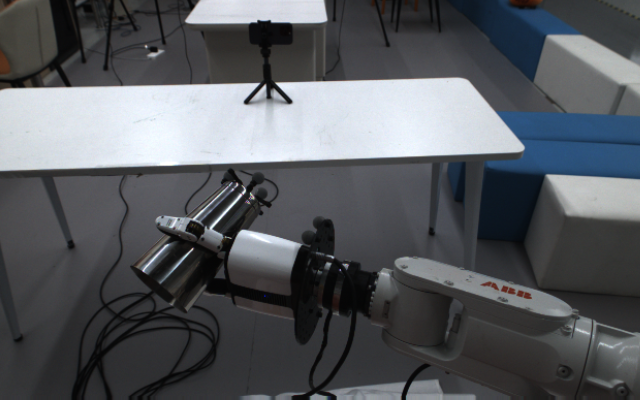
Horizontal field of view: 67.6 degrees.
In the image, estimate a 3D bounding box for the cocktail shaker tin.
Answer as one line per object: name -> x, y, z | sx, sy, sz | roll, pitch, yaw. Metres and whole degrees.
cocktail shaker tin -> -0.157, 0.050, 0.647 | 0.093, 0.093, 0.170 | 23, 57, 27
